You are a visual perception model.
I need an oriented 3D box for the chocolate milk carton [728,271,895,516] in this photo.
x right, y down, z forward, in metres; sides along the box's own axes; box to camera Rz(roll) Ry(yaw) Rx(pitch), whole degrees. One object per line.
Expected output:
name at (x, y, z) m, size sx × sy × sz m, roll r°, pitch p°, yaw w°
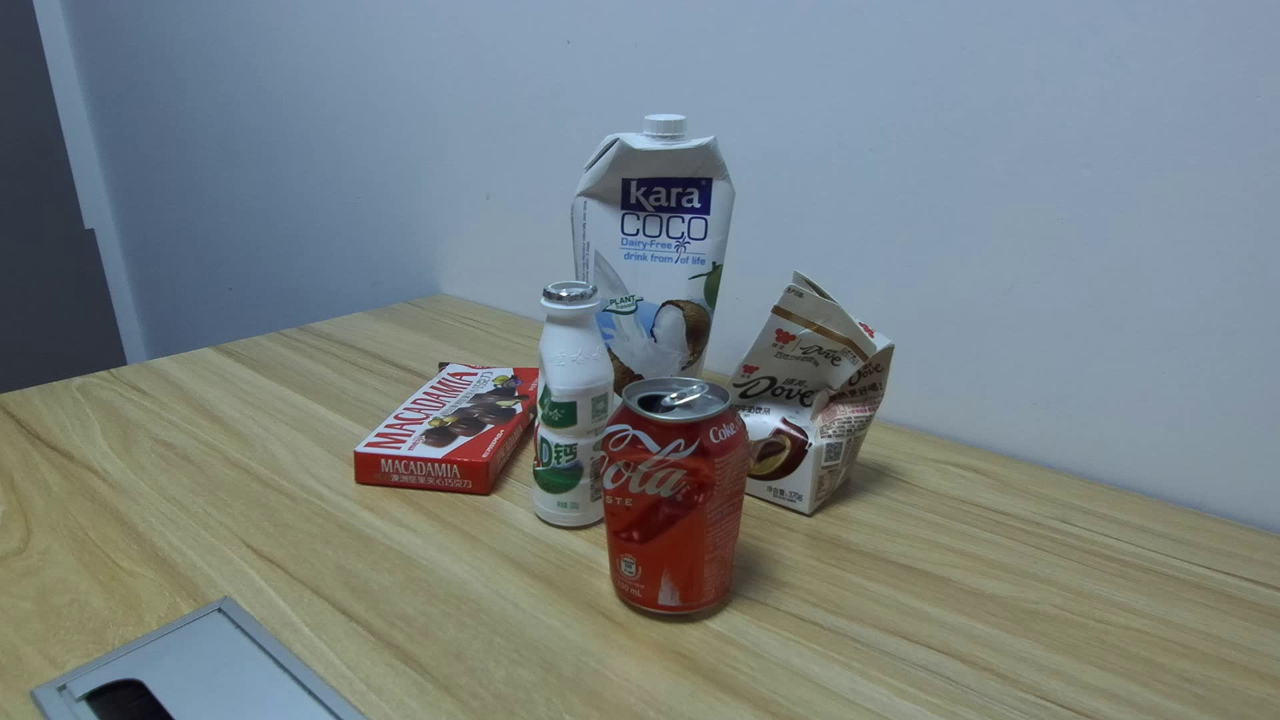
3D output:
chocolate milk carton at (0.107, 0.022, 0.460) m, size 0.089 × 0.155 × 0.077 m, roll 28°, pitch 34°, yaw 23°

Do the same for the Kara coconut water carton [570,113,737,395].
Kara coconut water carton at (0.006, -0.057, 0.525) m, size 0.115 × 0.238 × 0.069 m, roll 0°, pitch 19°, yaw -9°

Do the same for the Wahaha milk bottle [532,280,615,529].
Wahaha milk bottle at (-0.041, 0.027, 0.427) m, size 0.056 × 0.147 × 0.056 m, roll 1°, pitch 21°, yaw 0°

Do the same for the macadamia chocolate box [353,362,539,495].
macadamia chocolate box at (-0.135, 0.044, 0.551) m, size 0.106 × 0.028 × 0.183 m, roll 4°, pitch 20°, yaw 5°

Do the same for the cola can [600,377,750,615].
cola can at (0.019, 0.068, 0.365) m, size 0.065 × 0.117 × 0.067 m, roll 14°, pitch 23°, yaw 31°
